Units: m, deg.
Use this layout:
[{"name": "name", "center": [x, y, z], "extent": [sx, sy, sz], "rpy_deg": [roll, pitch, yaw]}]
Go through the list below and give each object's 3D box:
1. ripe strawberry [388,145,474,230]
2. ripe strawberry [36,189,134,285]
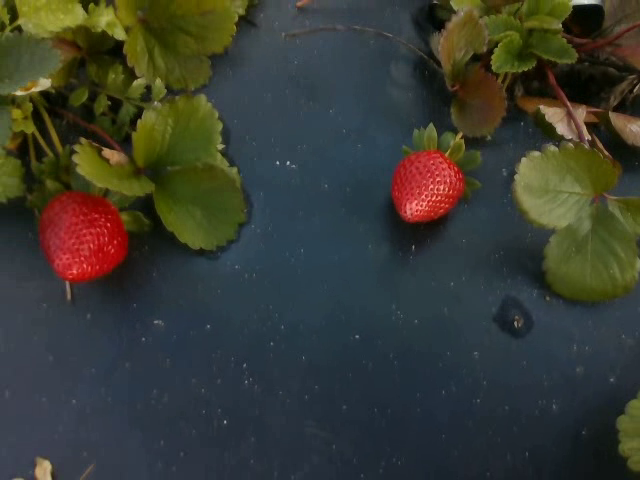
[{"name": "ripe strawberry", "center": [0.047, -0.020, 0.257], "extent": [0.041, 0.045, 0.052], "rpy_deg": [-26, 21, 46]}, {"name": "ripe strawberry", "center": [-0.108, 0.005, 0.244], "extent": [0.050, 0.046, 0.050], "rpy_deg": [26, 24, -12]}]
